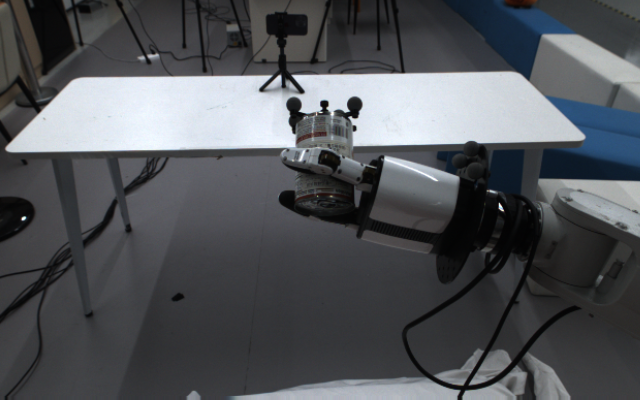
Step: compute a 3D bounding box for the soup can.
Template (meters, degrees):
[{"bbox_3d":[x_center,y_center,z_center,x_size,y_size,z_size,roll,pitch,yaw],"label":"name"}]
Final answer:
[{"bbox_3d":[0.006,-0.039,0.544,0.067,0.067,0.101,1,72,-2],"label":"soup can"}]
